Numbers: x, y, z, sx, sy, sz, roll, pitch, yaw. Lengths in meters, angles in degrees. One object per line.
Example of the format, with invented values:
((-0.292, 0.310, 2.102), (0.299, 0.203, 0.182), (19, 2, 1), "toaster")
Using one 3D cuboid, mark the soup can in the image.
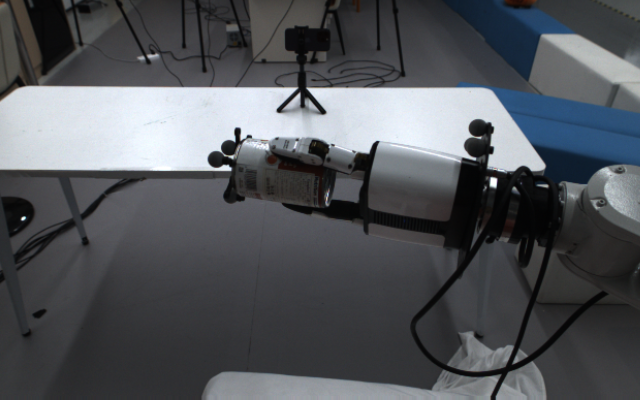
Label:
((-0.035, -0.030, 0.533), (0.101, 0.067, 0.067), (8, 35, 10), "soup can")
